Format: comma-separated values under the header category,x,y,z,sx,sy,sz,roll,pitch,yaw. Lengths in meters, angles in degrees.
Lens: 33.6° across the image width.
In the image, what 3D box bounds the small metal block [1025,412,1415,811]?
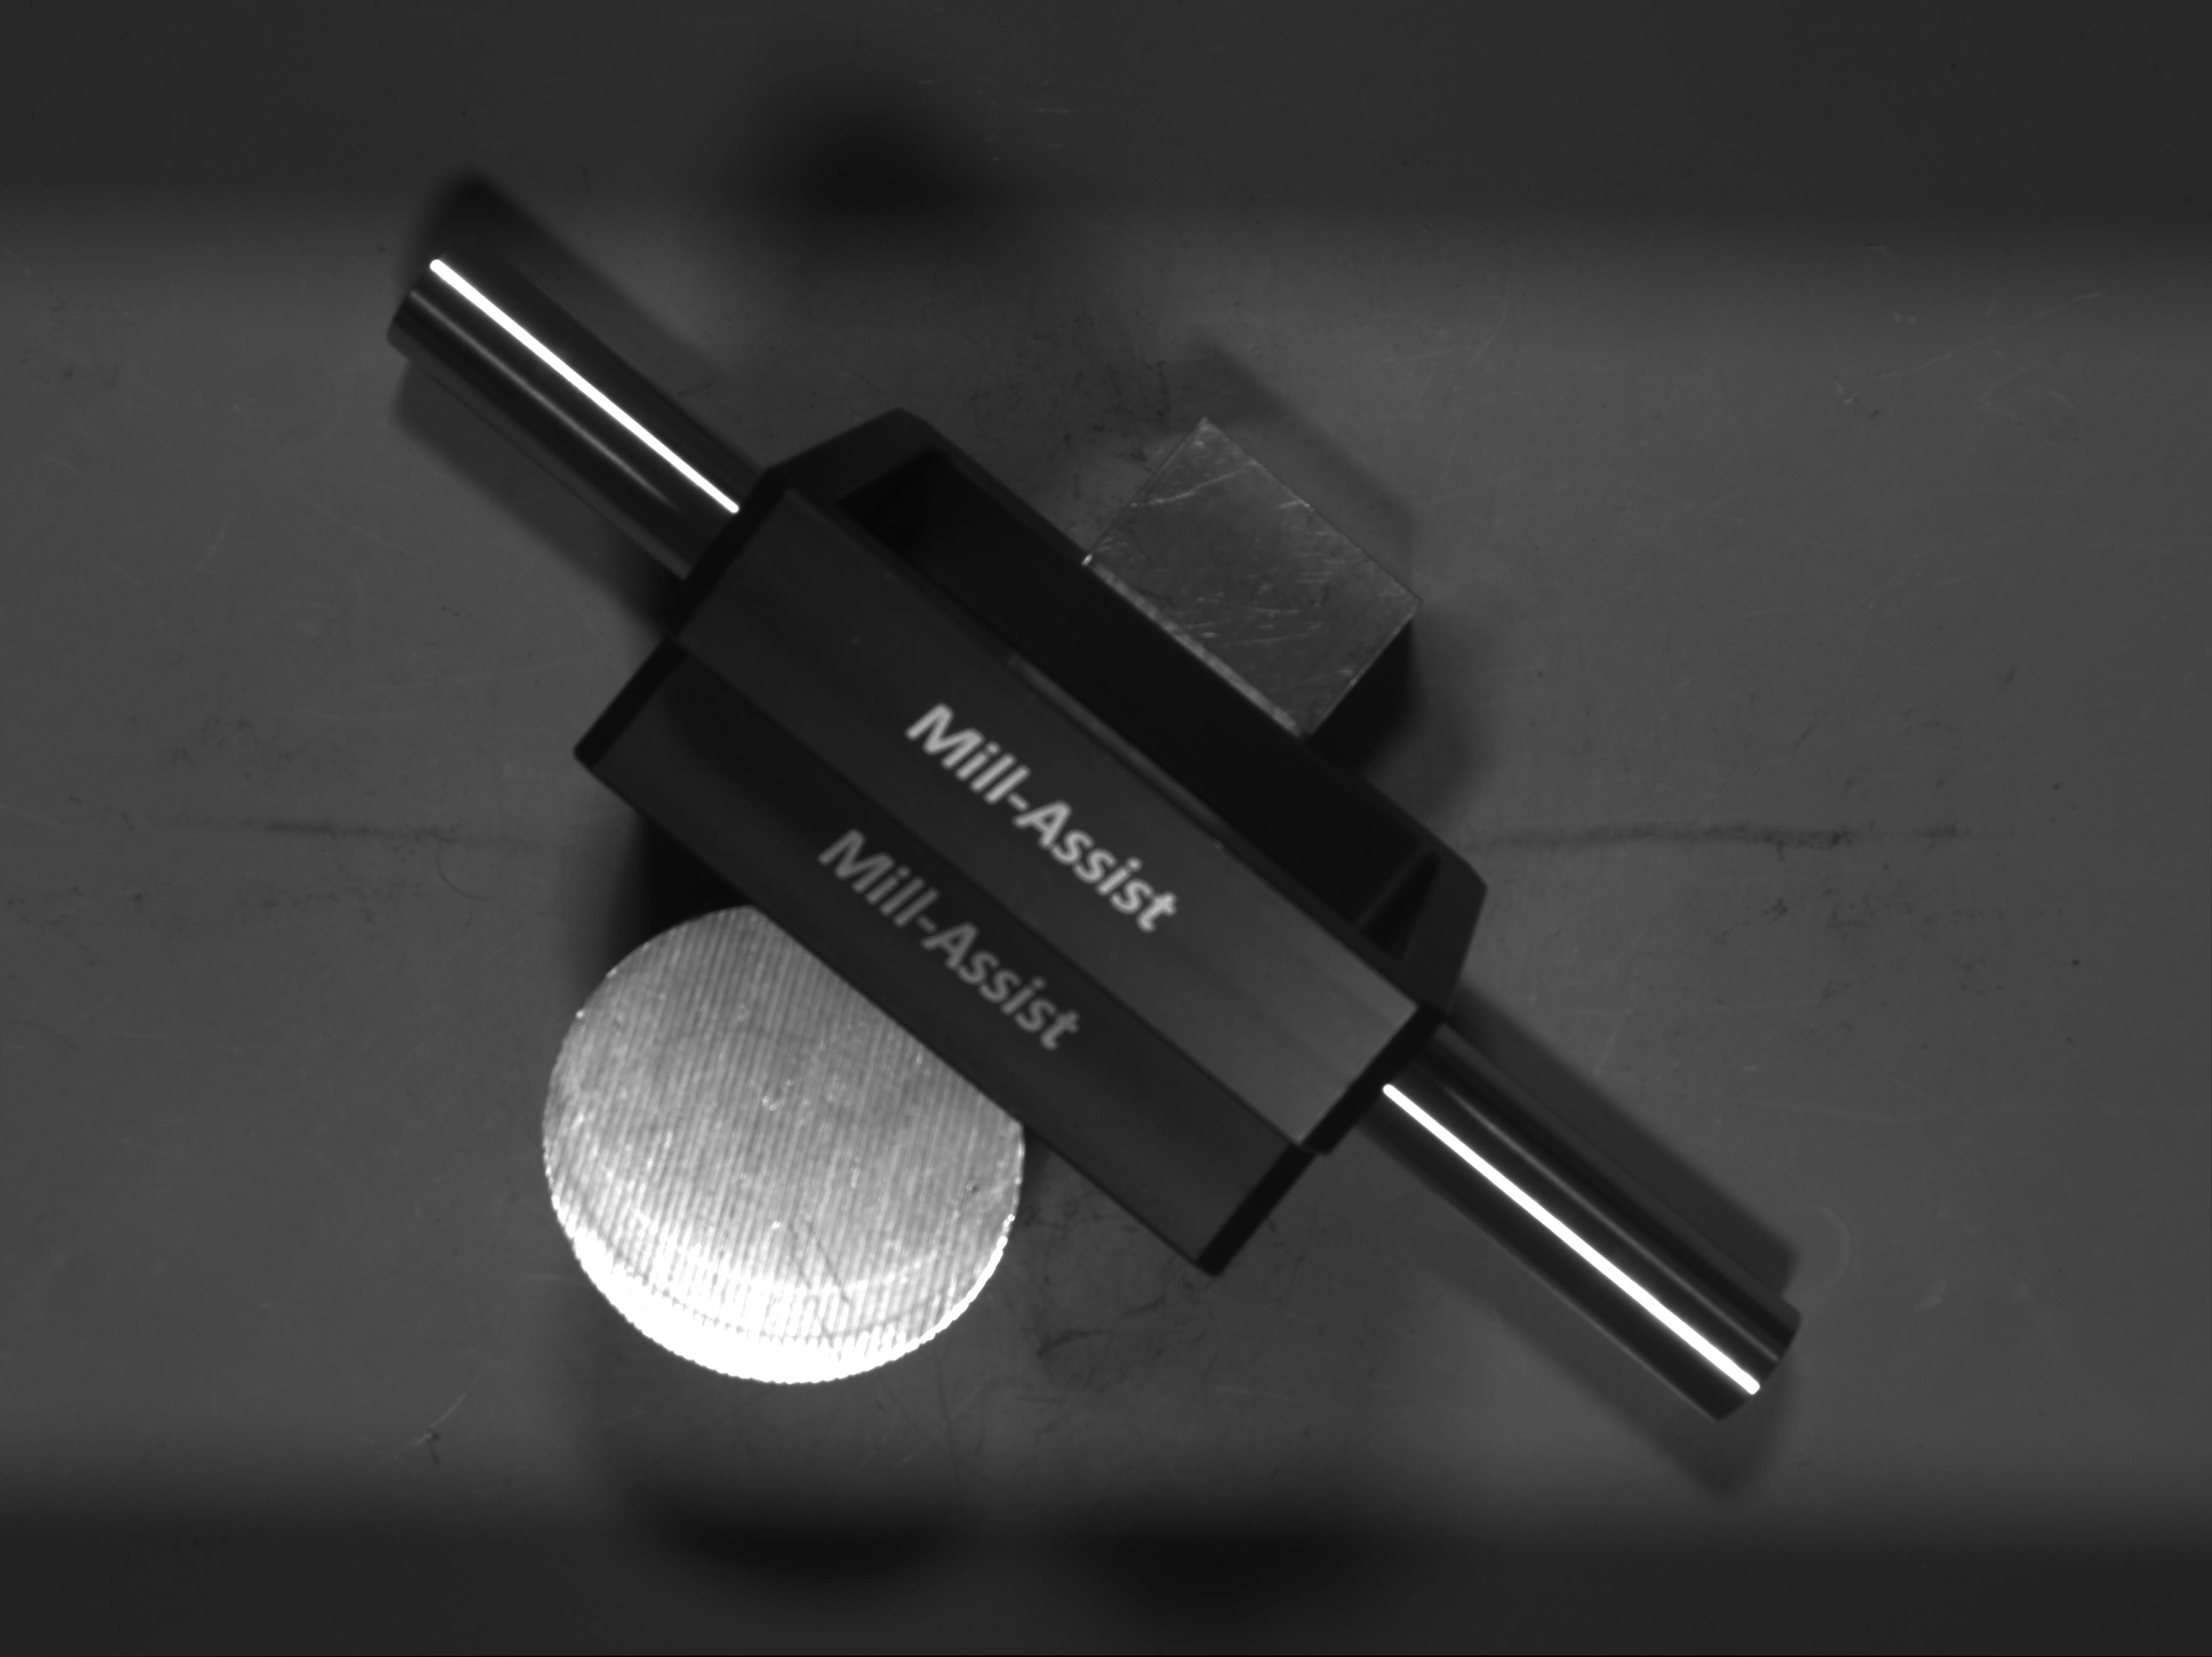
category,x,y,z,sx,sy,sz,roll,pitch,yaw
small metal block,0.018,-0.037,0.644,0.050,0.025,0.050,41,90,0

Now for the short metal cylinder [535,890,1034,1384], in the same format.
category,x,y,z,sx,sy,sz,roll,pitch,yaw
short metal cylinder,-0.052,0.049,0.625,0.080,0.050,0.080,1,97,5

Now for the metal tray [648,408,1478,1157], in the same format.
category,x,y,z,sx,sy,sz,roll,pitch,yaw
metal tray,-0.003,-0.011,0.586,0.130,0.090,0.030,39,107,0

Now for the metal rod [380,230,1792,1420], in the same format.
category,x,y,z,sx,sy,sz,roll,pitch,yaw
metal rod,-0.003,0.000,0.645,0.300,0.025,0.025,39,90,0

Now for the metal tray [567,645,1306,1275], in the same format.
category,x,y,z,sx,sy,sz,roll,pitch,yaw
metal tray,-0.025,0.018,0.611,0.130,0.090,0.030,39,90,0
